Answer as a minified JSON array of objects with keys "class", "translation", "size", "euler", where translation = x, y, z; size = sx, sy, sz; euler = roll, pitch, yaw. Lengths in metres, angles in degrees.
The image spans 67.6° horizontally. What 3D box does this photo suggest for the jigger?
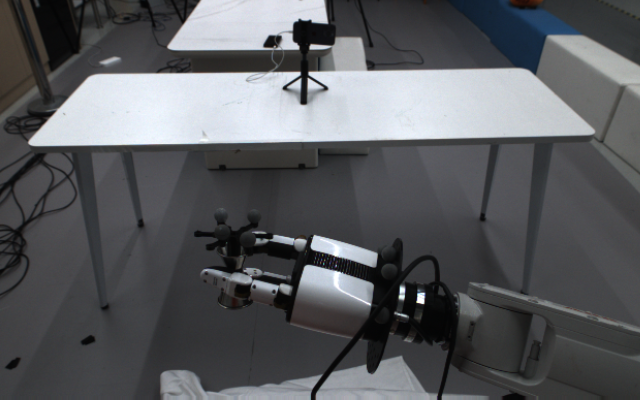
[{"class":"jigger","translation":[-0.100,0.087,0.574],"size":[0.043,0.071,0.043],"euler":[1,20,-1]}]
